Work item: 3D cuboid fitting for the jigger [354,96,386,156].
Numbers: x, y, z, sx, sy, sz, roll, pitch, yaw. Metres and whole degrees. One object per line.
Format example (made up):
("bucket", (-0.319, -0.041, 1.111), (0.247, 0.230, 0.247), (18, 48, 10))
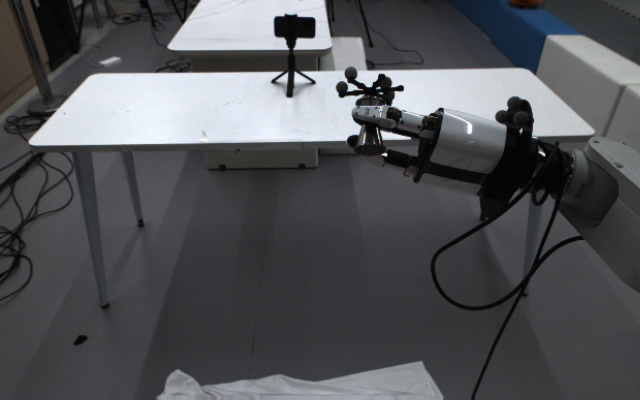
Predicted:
("jigger", (0.065, -0.099, 0.639), (0.043, 0.043, 0.071), (3, 76, 1))
